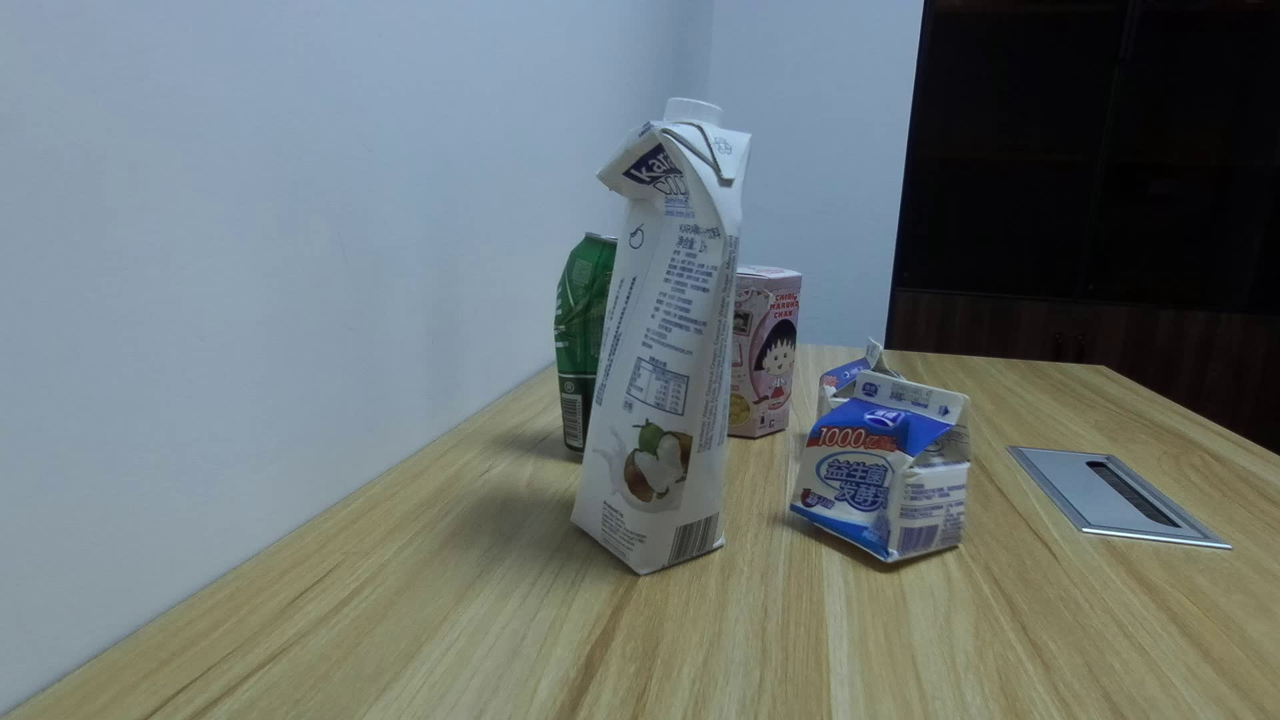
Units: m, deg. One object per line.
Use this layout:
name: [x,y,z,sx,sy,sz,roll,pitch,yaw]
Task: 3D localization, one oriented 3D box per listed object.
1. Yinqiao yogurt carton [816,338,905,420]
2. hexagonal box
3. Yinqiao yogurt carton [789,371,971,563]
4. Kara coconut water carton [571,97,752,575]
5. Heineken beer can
Yinqiao yogurt carton: [0.192,0.030,0.587,0.073,0.092,0.075,1,13,10]
hexagonal box: [0.087,-0.009,0.600,0.083,0.136,0.091,14,17,43]
Yinqiao yogurt carton: [0.144,0.057,0.408,0.071,0.094,0.077,0,13,-36]
Kara coconut water carton: [0.013,-0.014,0.377,0.070,0.238,0.114,-5,15,-36]
Heineken beer can: [-0.024,-0.011,0.547,0.077,0.164,0.066,10,13,22]
